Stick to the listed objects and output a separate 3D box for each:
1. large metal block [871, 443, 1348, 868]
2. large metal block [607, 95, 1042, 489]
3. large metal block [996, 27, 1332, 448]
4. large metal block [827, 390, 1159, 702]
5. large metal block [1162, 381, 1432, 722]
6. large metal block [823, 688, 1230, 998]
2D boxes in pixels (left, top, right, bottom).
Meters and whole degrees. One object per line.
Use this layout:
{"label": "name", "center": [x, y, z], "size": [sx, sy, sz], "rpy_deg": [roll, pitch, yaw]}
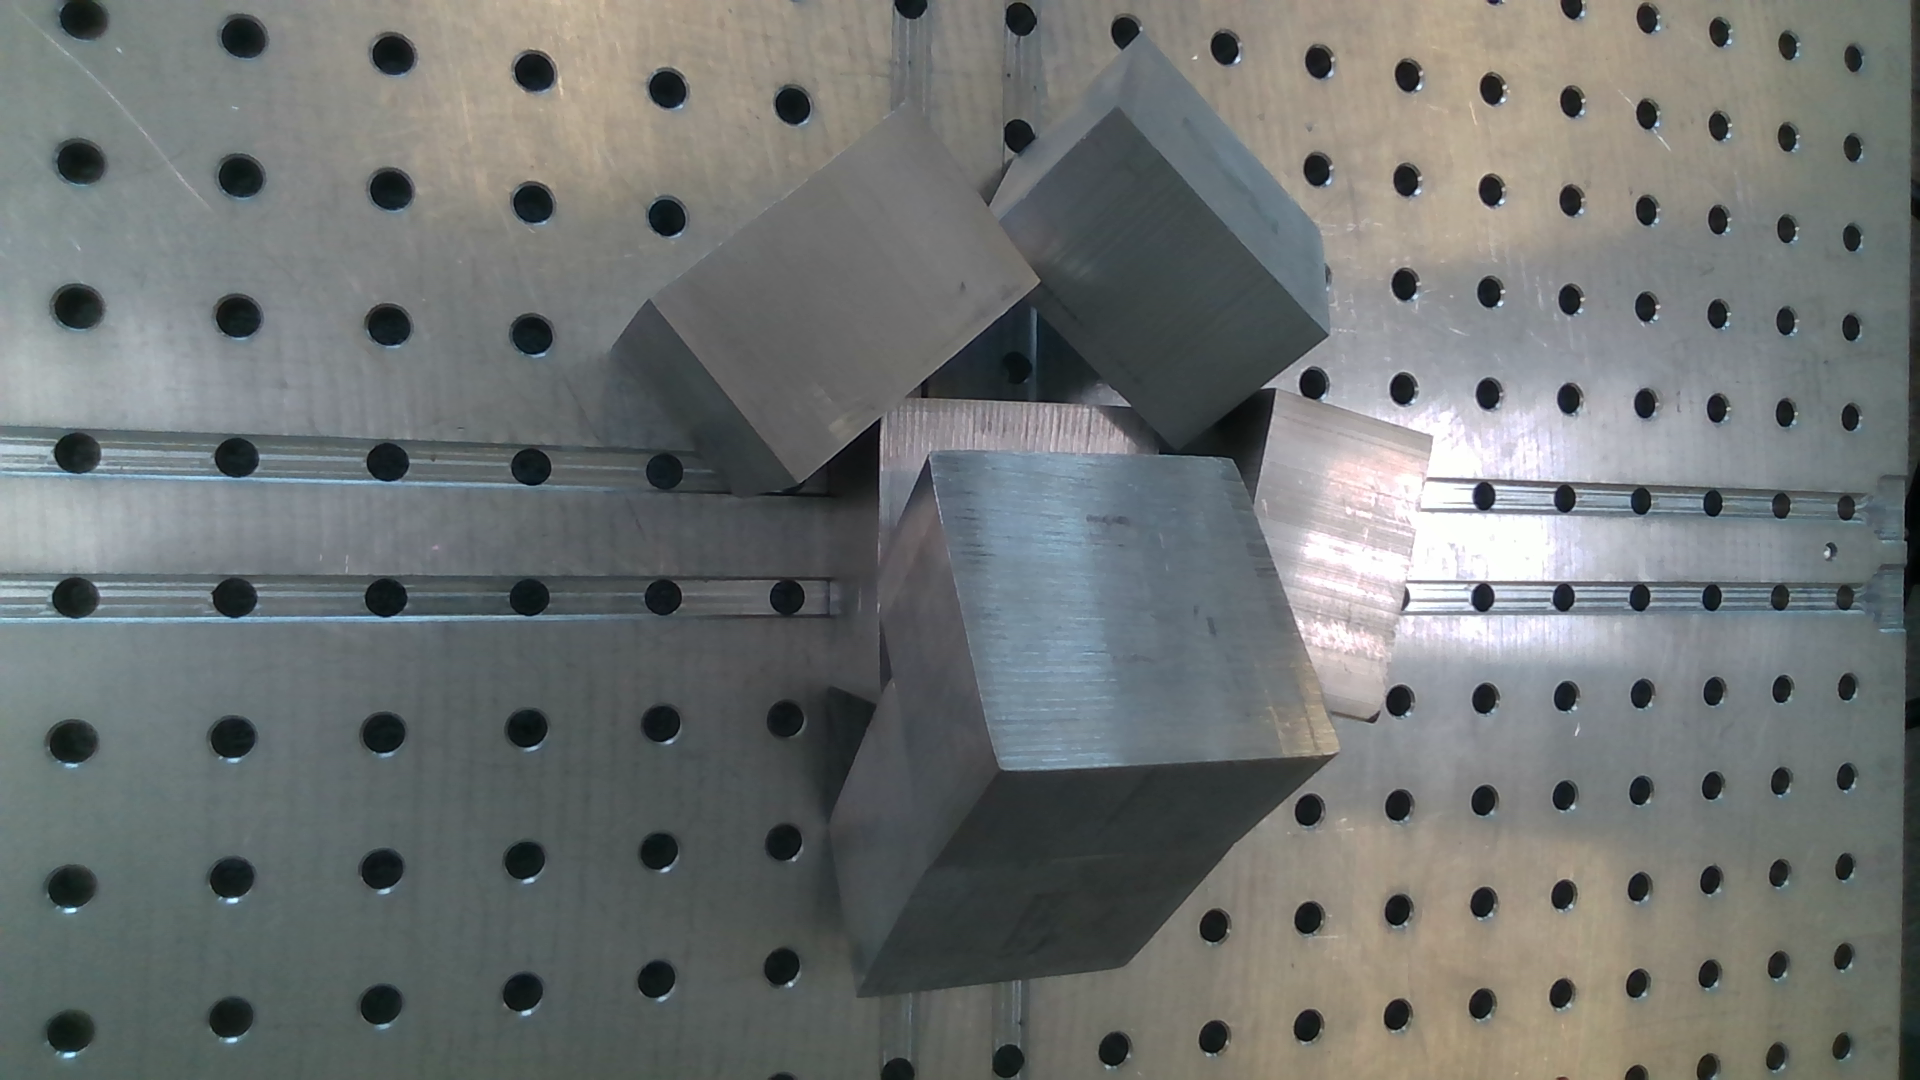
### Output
{"label": "large metal block", "center": [0.030, 0.026, 0.320], "size": [0.080, 0.050, 0.080], "rpy_deg": [1, 56, -21]}
{"label": "large metal block", "center": [-0.038, -0.059, 0.352], "size": [0.080, 0.080, 0.050], "rpy_deg": [-42, 104, -15]}
{"label": "large metal block", "center": [0.055, -0.085, 0.380], "size": [0.080, 0.080, 0.050], "rpy_deg": [43, 121, -15]}
{"label": "large metal block", "center": [0.008, 0.002, 0.386], "size": [0.080, 0.050, 0.080], "rpy_deg": [1, 90, -20]}
{"label": "large metal block", "center": [0.082, 0.004, 0.398], "size": [0.050, 0.080, 0.080], "rpy_deg": [14, 85, -20]}
{"label": "large metal block", "center": [0.015, 0.077, 0.364], "size": [0.080, 0.080, 0.050], "rpy_deg": [0, 52, -21]}
